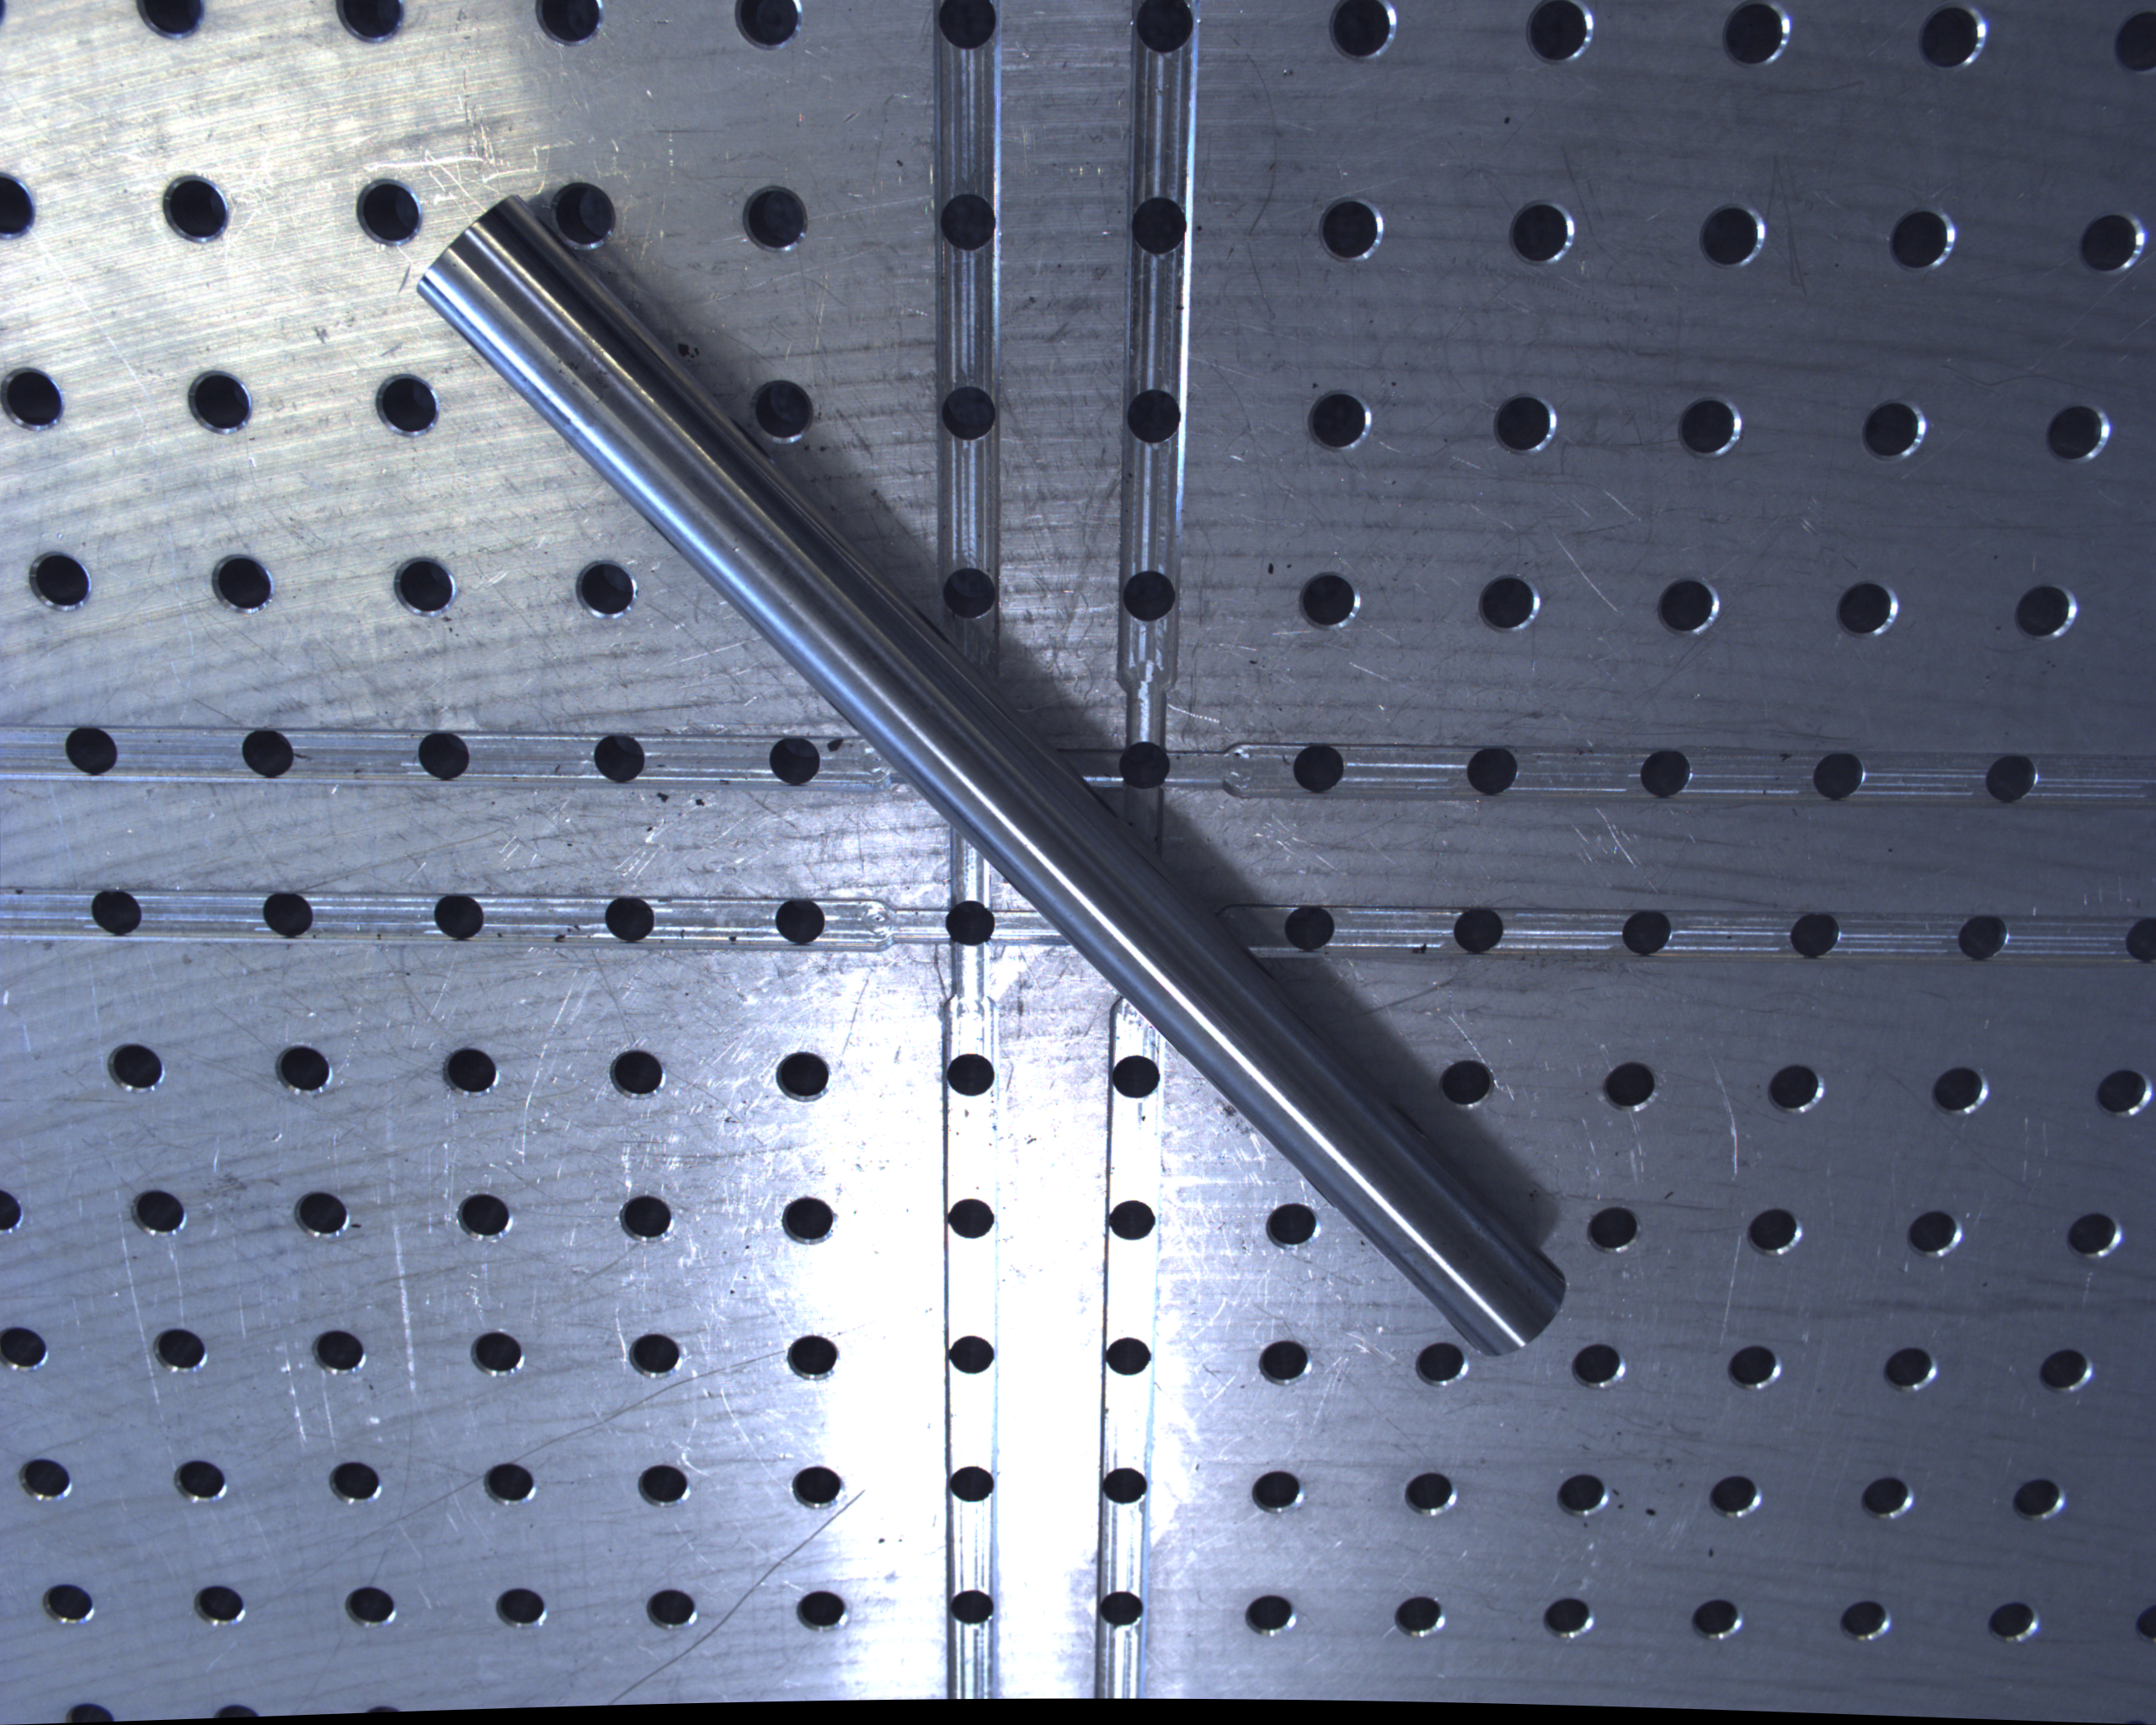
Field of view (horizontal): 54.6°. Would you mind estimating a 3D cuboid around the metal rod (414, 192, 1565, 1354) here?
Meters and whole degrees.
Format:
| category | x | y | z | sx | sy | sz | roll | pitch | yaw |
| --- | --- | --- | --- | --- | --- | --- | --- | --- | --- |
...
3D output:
| category | x | y | z | sx | sy | sz | roll | pitch | yaw |
| --- | --- | --- | --- | --- | --- | --- | --- | --- | --- |
| metal rod | -0.007 | -0.008 | 0.411 | 0.025 | 0.025 | 0.300 | -41 | 105 | 13 |
